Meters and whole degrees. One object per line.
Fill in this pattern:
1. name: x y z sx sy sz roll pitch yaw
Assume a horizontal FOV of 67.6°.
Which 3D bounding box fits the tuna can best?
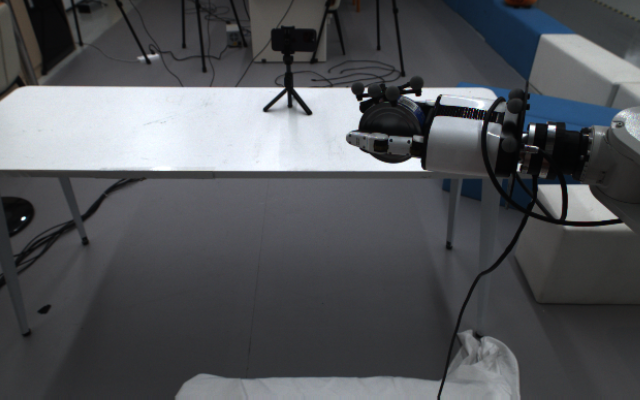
1. tuna can: 0.098 -0.096 0.643 0.085 0.085 0.034 17 37 20
